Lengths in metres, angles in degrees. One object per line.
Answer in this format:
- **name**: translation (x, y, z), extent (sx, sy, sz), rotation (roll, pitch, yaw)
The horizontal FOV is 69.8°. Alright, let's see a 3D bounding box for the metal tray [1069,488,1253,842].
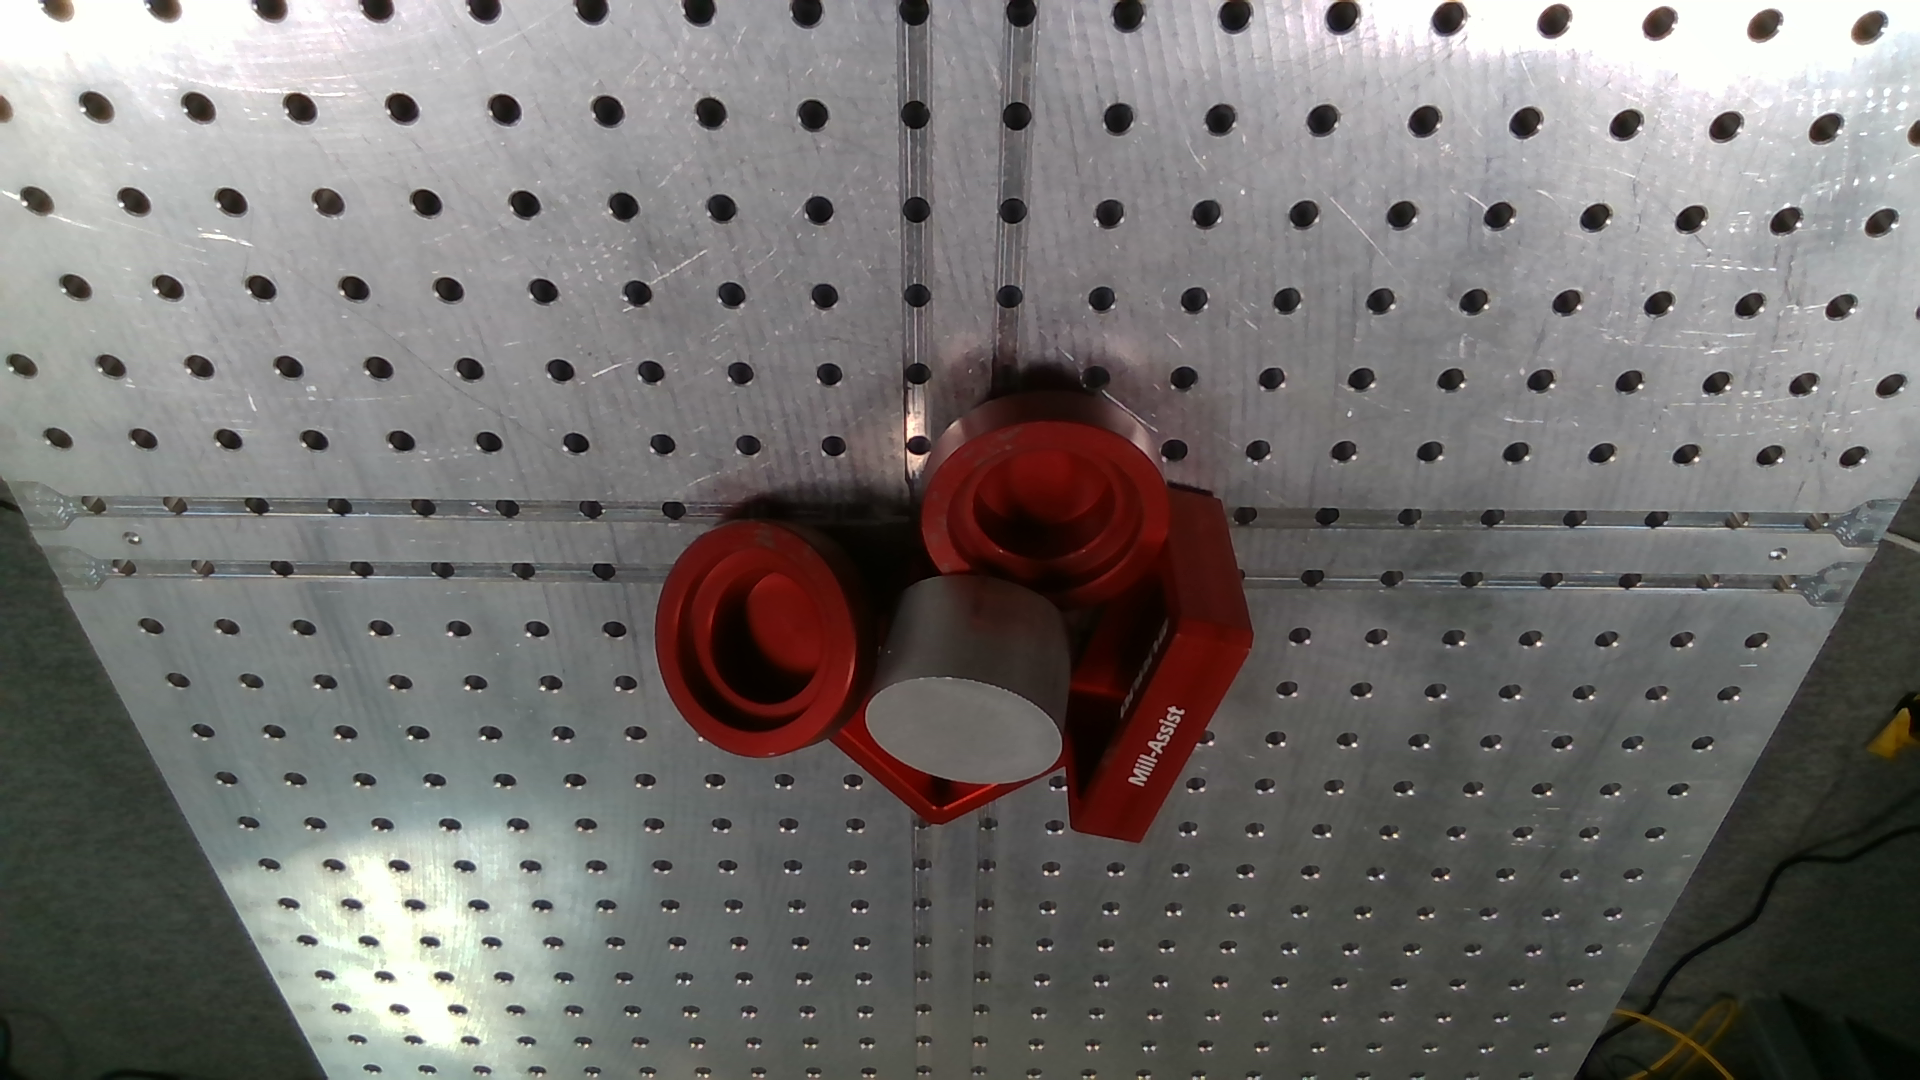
- **metal tray**: translation (0.079, 0.053, 0.584), extent (0.030, 0.090, 0.130), rotation (12, 129, -10)

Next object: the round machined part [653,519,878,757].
- **round machined part**: translation (-0.077, 0.040, 0.582), extent (0.098, 0.042, 0.098), rotation (1, 93, 25)

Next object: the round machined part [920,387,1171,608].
- **round machined part**: translation (0.034, -0.021, 0.554), extent (0.098, 0.042, 0.098), rotation (0, 130, 0)

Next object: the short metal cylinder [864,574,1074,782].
- **short metal cylinder**: translation (0.005, 0.058, 0.566), extent (0.080, 0.050, 0.080), rotation (7, 142, 5)

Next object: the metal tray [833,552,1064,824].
- **metal tray**: translation (-0.016, 0.072, 0.639), extent (0.090, 0.030, 0.130), rotation (-30, 124, 23)
